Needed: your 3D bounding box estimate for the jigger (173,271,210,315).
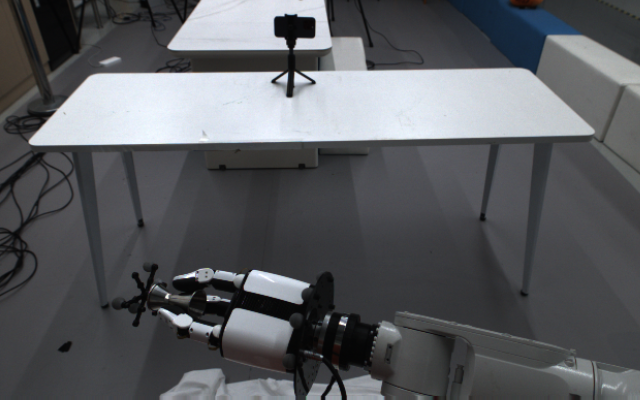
[{"bbox_3d":[-0.190,0.131,0.664,0.071,0.043,0.043,5,34,18],"label":"jigger"}]
